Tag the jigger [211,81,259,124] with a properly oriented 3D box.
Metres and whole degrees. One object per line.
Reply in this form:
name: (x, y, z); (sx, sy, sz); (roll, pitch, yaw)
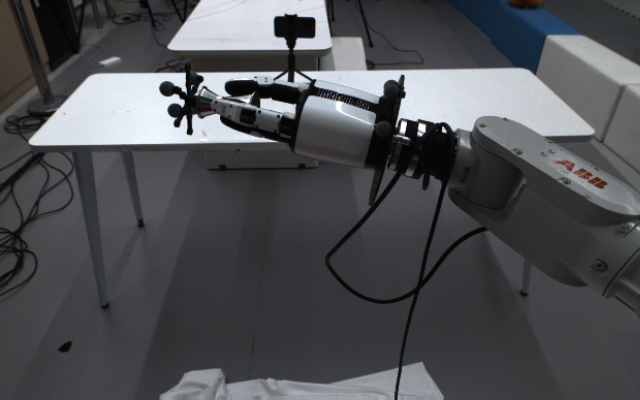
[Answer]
jigger: (-0.108, -0.121, 0.598); (0.071, 0.043, 0.043); (7, 35, 6)
